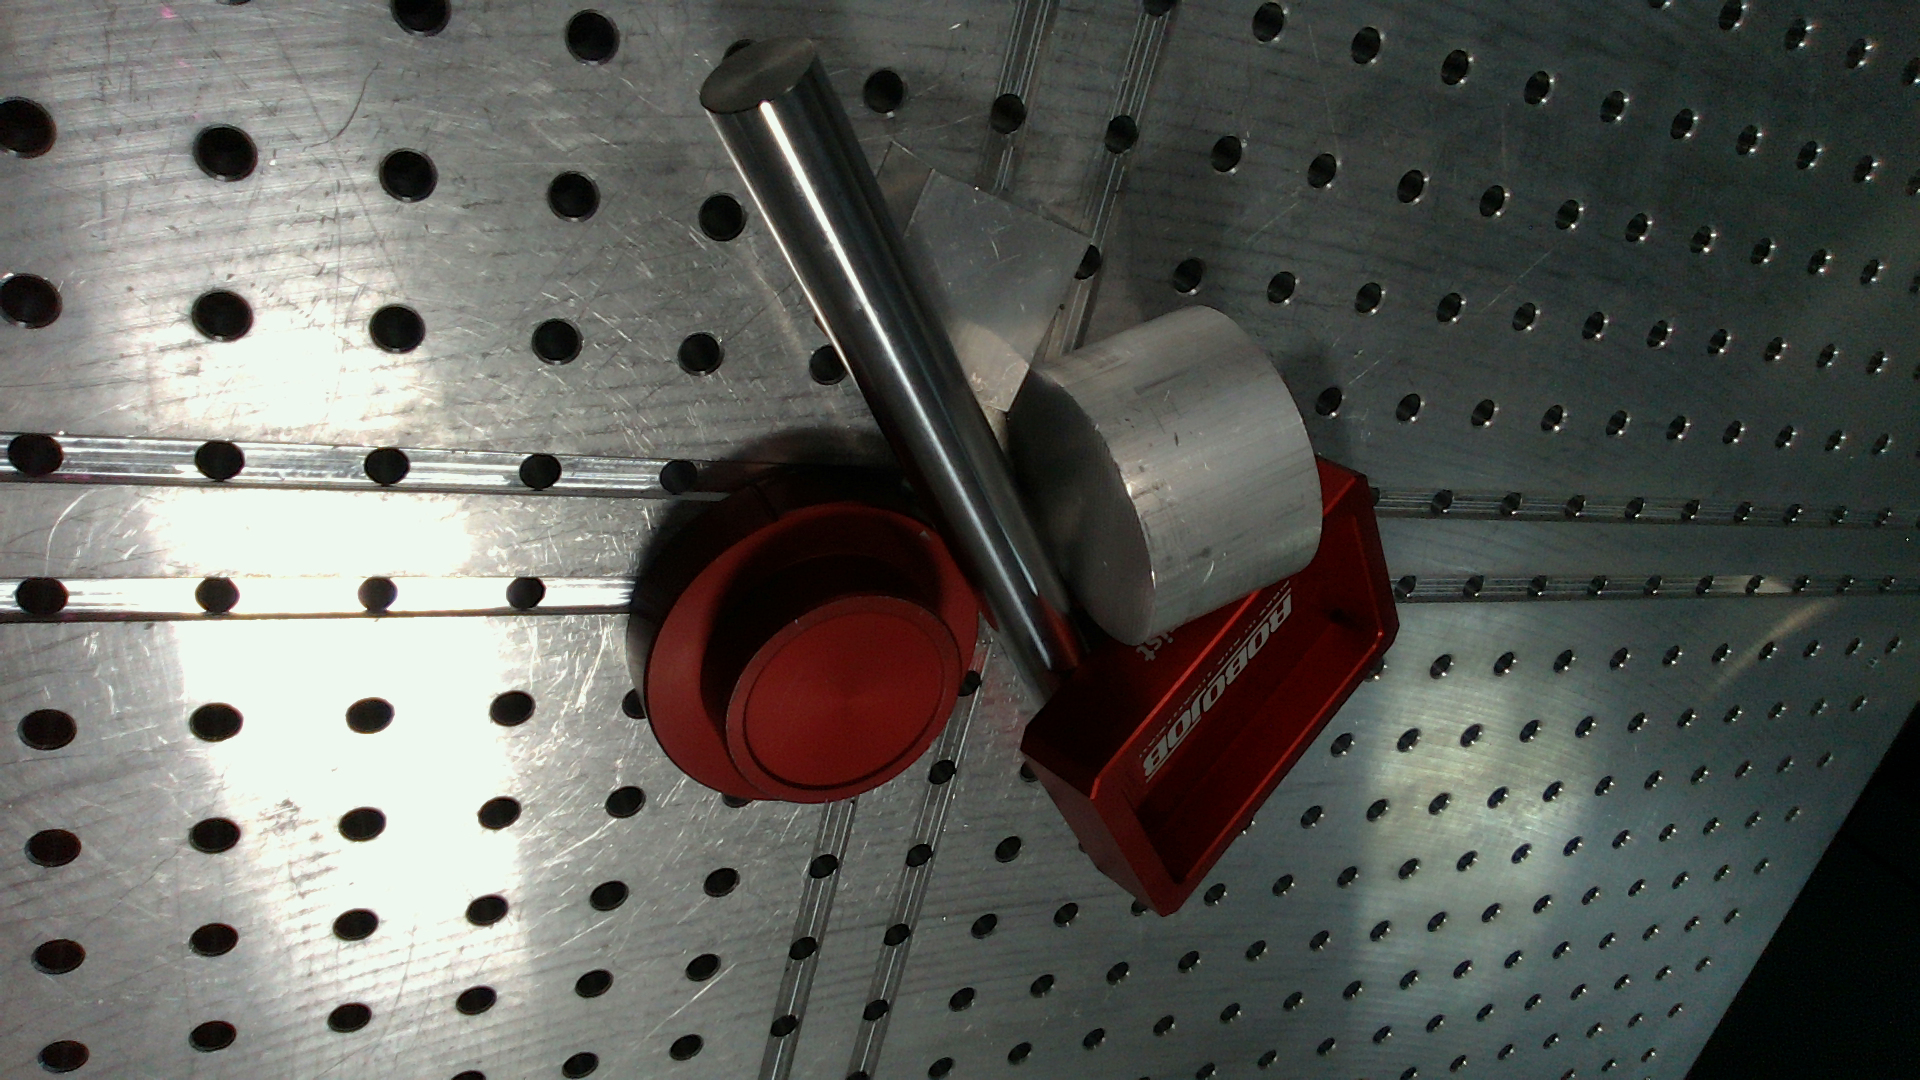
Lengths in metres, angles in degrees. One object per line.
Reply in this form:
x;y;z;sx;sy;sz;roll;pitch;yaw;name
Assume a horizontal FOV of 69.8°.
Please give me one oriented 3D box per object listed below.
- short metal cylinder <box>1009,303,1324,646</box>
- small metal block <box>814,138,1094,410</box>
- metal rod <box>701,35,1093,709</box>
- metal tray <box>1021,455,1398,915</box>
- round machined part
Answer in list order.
0.054;-0.018;0.375;0.050;0.080;0.080;-23;127;-14;short metal cylinder
-0.002;-0.067;0.351;0.050;0.025;0.050;14;111;-34;small metal block
0.010;0.000;0.376;0.025;0.025;0.301;-34;137;-6;metal rod
0.084;0.044;0.434;0.130;0.030;0.090;-47;138;-15;metal tray
-0.039;0.034;0.380;0.098;0.042;0.098;-14;124;-21;round machined part
